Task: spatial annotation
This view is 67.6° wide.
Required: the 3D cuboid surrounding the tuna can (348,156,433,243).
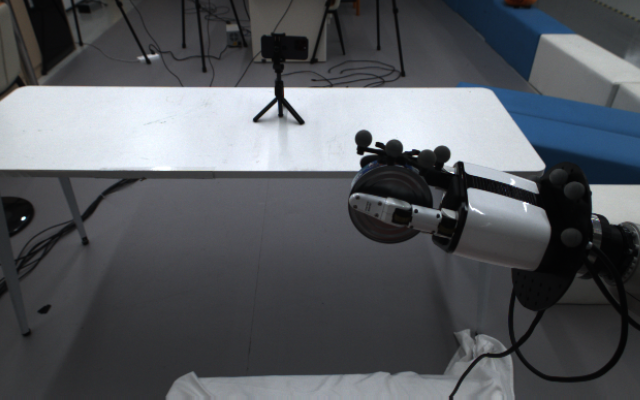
[{"bbox_3d":[0.075,-0.002,0.507,0.085,0.085,0.034,5,18,4],"label":"tuna can"}]
